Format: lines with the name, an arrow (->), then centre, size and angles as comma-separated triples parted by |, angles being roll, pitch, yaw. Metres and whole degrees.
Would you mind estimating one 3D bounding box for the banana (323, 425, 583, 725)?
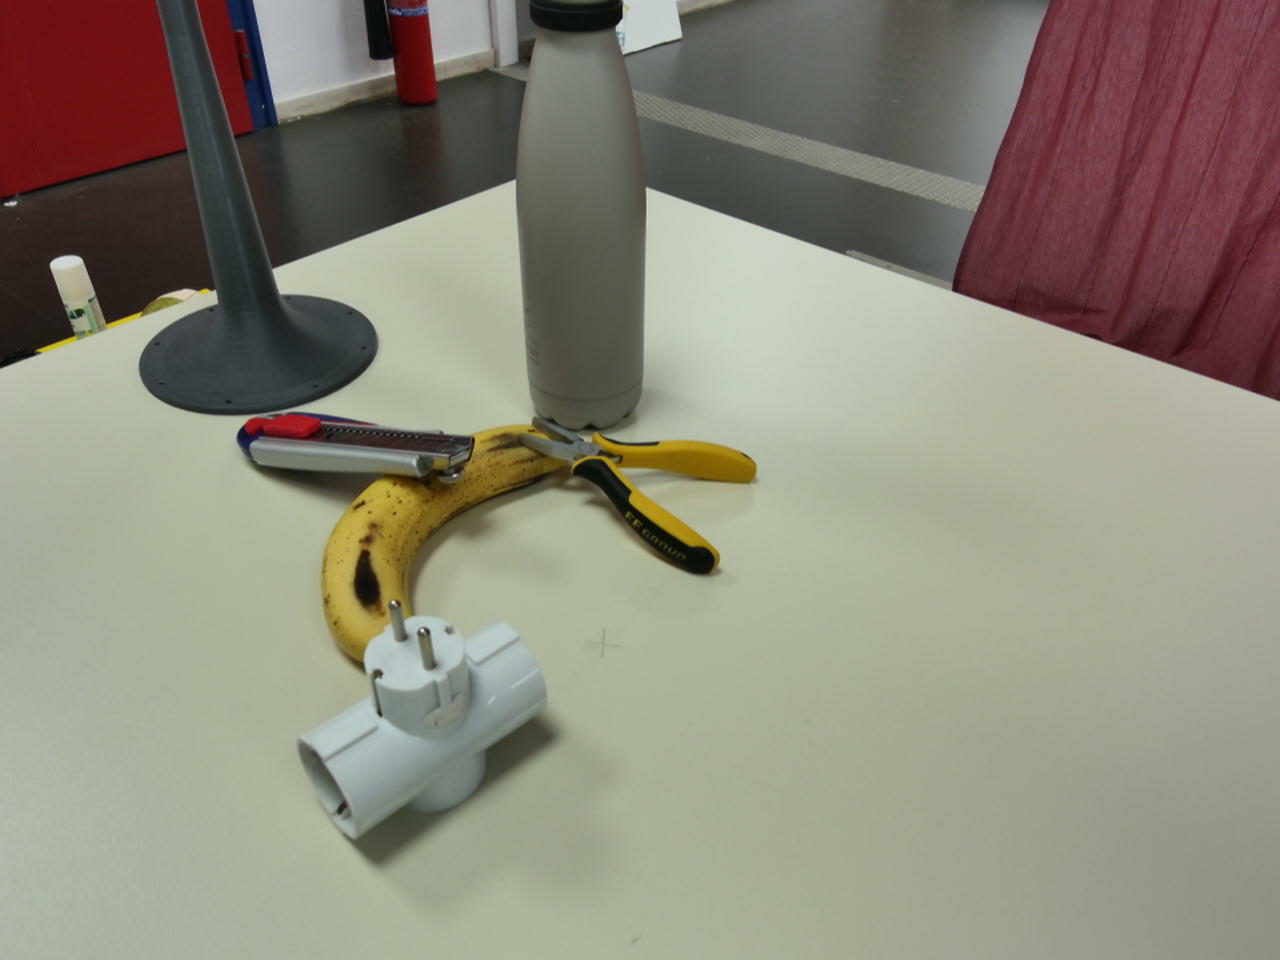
banana -> -0.097, 0.026, 0.499 | 0.097, 0.038, 0.186 | 9, 37, 9
